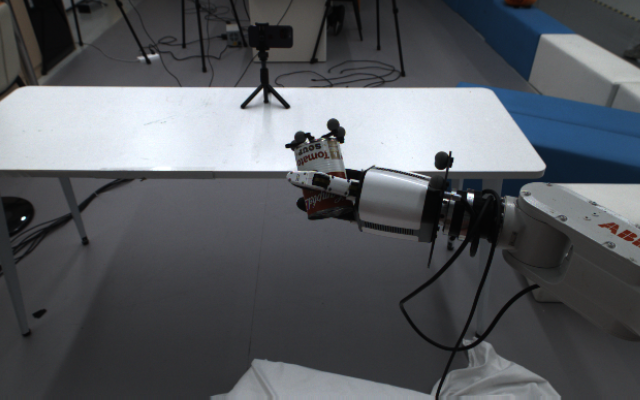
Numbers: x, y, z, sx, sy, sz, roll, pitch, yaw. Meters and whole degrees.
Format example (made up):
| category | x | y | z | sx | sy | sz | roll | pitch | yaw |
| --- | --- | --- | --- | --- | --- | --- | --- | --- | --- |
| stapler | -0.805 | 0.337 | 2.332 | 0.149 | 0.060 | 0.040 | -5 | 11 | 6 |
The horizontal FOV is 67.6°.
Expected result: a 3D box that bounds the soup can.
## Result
| category | x | y | z | sx | sy | sz | roll | pitch | yaw |
| --- | --- | --- | --- | --- | --- | --- | --- | --- | --- |
| soup can | 0.006 | -0.029 | 0.684 | 0.067 | 0.067 | 0.101 | -10 | 80 | -16 |
